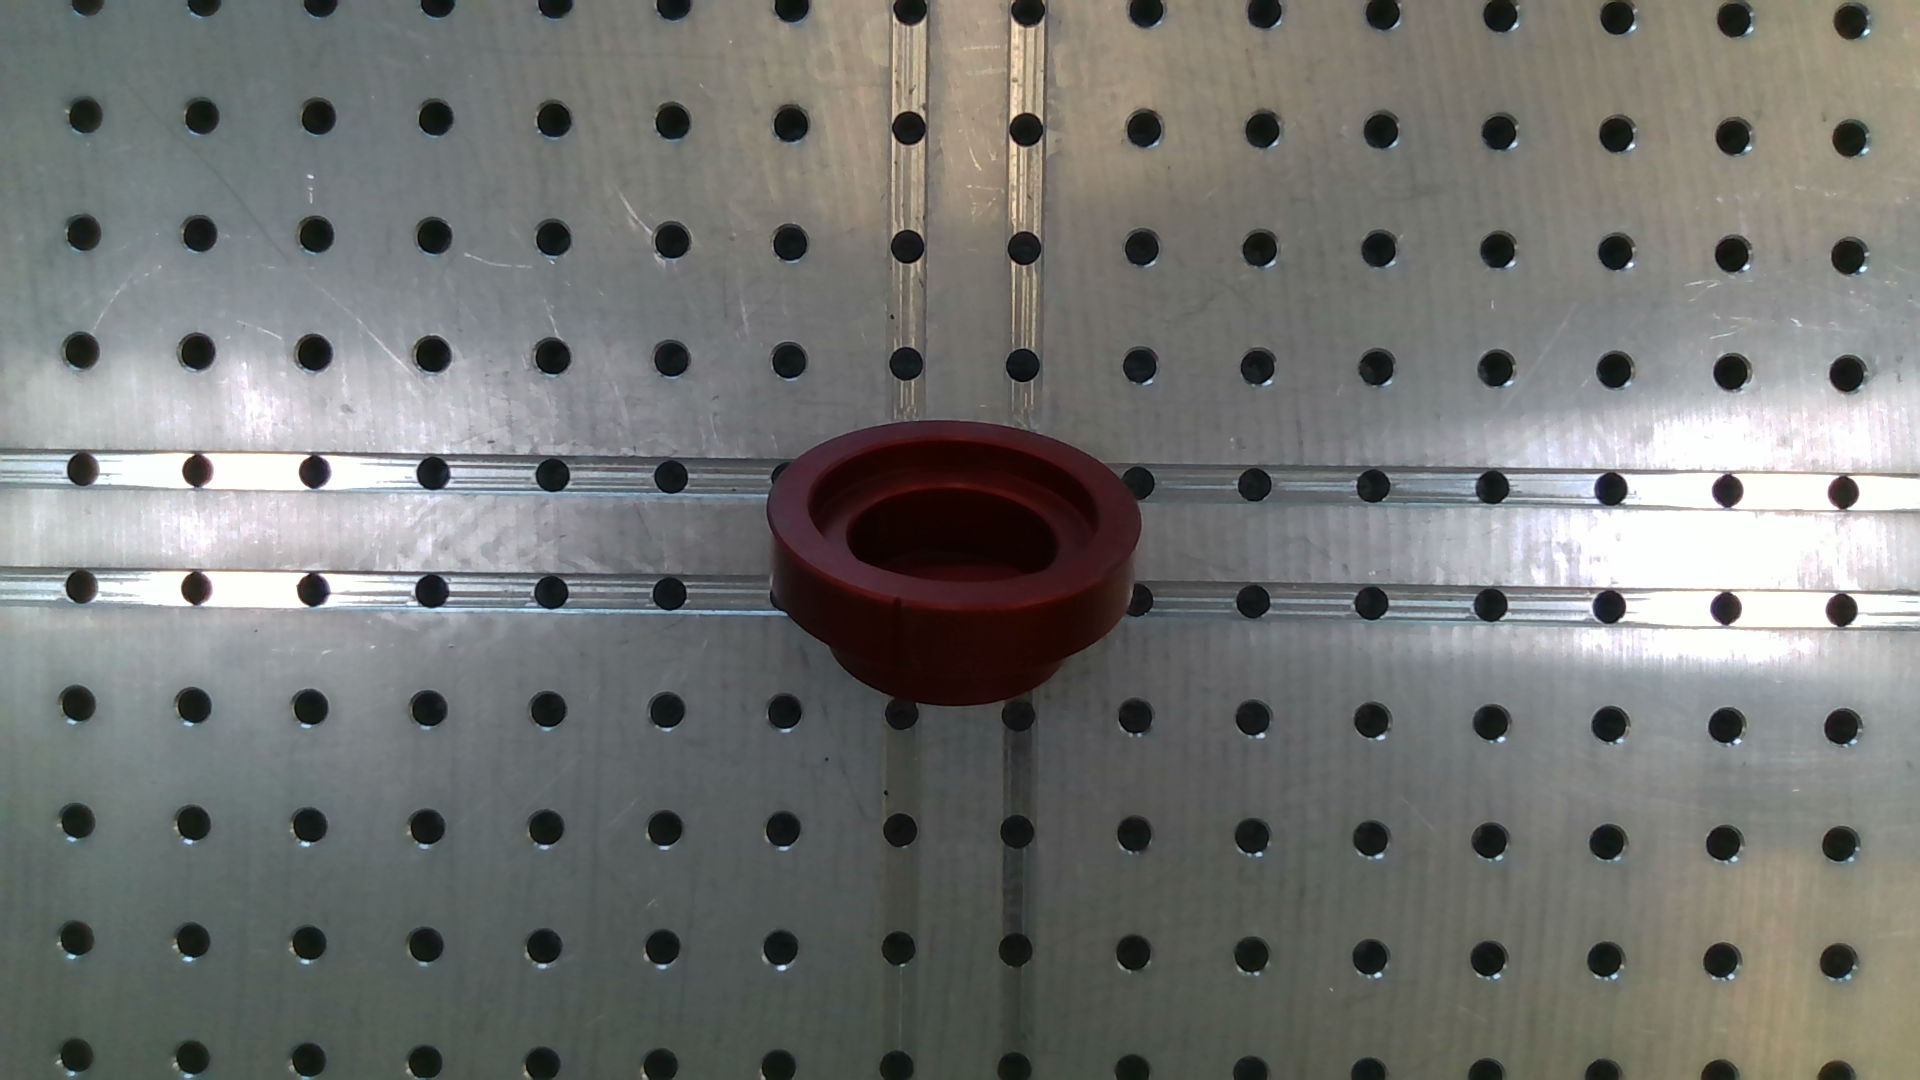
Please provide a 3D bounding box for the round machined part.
[{"bbox_3d":[-0.003,0.008,0.371,0.098,0.098,0.042,3,121,0],"label":"round machined part"}]
